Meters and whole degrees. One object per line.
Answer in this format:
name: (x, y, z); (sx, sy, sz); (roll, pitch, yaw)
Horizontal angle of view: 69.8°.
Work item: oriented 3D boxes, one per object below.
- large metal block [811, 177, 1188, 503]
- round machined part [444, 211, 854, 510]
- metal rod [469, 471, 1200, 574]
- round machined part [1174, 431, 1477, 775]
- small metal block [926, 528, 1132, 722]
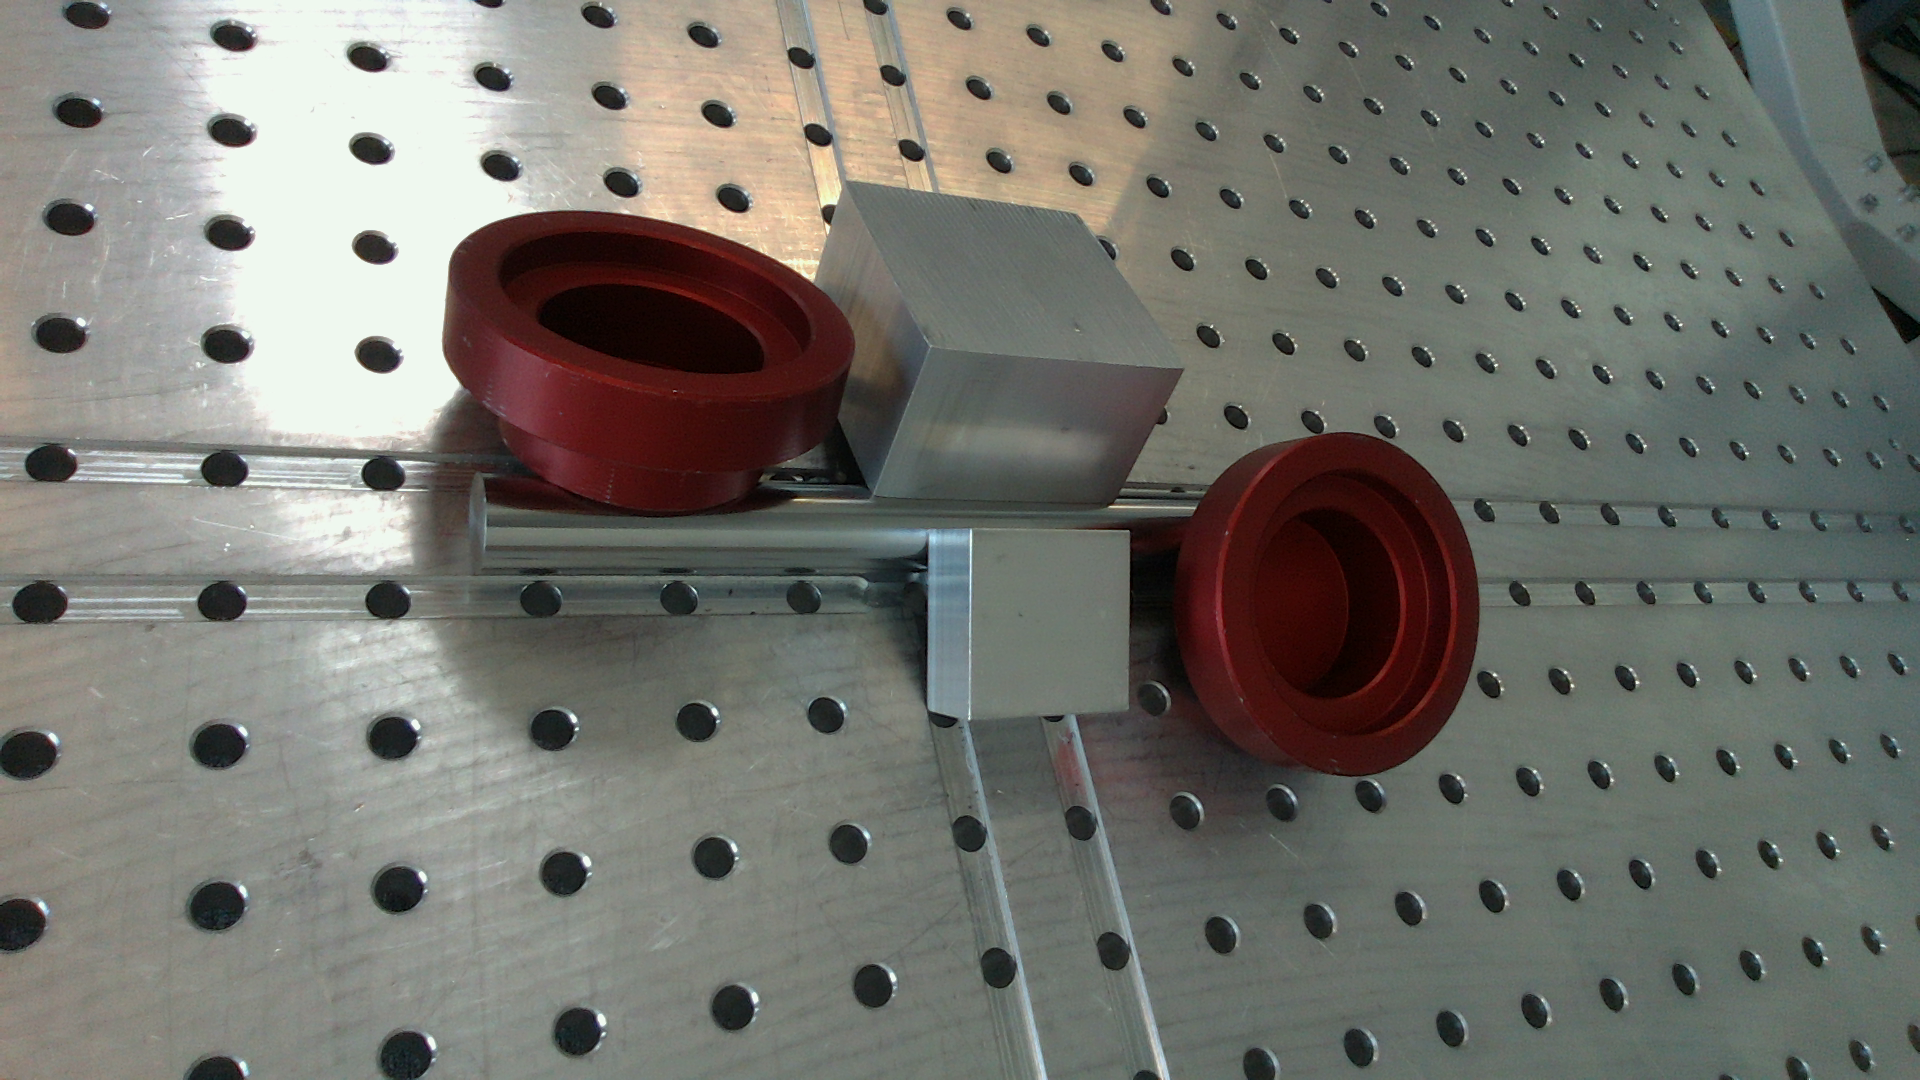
large metal block: (0.006, -0.057, 0.400); (0.080, 0.050, 0.080); (1, 43, -28)
round machined part: (-0.079, -0.044, 0.349); (0.098, 0.042, 0.098); (14, 31, -8)
metal rod: (0.015, -0.003, 0.403); (0.301, 0.025, 0.025); (1, 61, -28)
round machined part: (0.103, 0.019, 0.410); (0.098, 0.042, 0.098); (2, 86, -28)
small metal block: (0.019, 0.022, 0.377); (0.050, 0.025, 0.050); (1, 90, -28)
